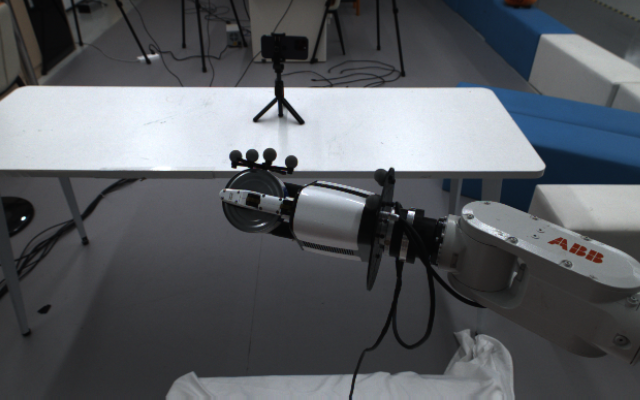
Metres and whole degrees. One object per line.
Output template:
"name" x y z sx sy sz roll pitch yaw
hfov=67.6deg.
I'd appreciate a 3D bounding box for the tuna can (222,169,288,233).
"tuna can" -0.084 0.001 0.649 0.085 0.085 0.034 11 -5 13
